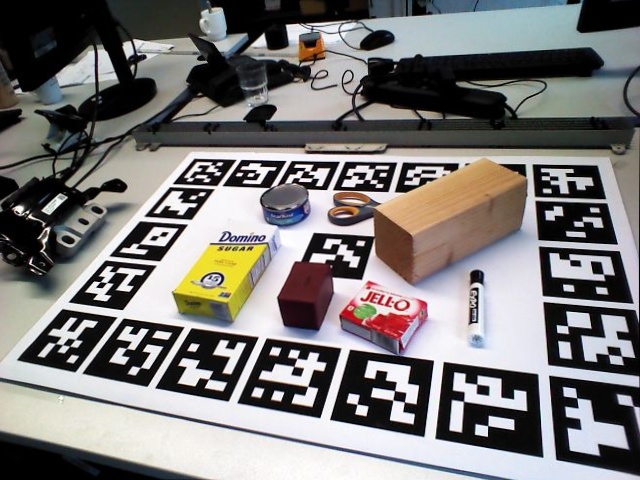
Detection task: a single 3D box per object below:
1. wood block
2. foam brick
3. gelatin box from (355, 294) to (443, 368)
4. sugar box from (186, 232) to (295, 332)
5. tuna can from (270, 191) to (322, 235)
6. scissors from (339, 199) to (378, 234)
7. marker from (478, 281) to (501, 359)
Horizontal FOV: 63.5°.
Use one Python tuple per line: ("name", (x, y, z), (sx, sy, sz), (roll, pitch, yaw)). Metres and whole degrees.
("wood block", (0.215, -0.013, 0.748), (0.205, 0.091, 0.090), (-25, 39, -17))
("foam brick", (0.003, 0.090, 0.694), (0.053, 0.051, 0.077), (5, 42, 21))
("gelatin box", (0.102, 0.114, 0.663), (0.090, 0.030, 0.073), (18, 47, 33))
("sugar box", (-0.114, 0.056, 0.783), (0.093, 0.045, 0.175), (7, 42, 22))
("tuna can", (-0.041, -0.047, 0.896), (0.086, 0.034, 0.085), (-8, 39, 6))
("scissors", (0.128, -0.033, 0.852), (0.204, 0.016, 0.087), (7, 42, 26))
("marker", (0.217, 0.098, 0.658), (0.020, 0.020, 0.120), (5, 43, 20))
